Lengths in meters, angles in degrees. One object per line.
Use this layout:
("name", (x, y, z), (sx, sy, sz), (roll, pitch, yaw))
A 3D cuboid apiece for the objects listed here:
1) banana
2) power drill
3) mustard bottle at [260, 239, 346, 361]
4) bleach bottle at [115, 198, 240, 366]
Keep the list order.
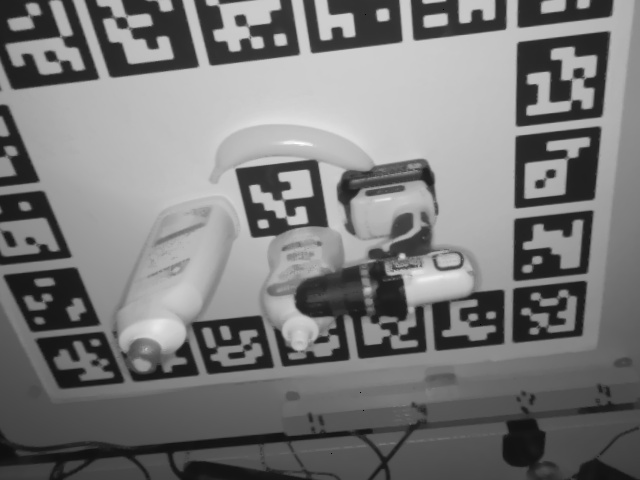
("banana", (-0.039, -0.089, 0.794), (0.197, 0.039, 0.074), (-4, 116, 0))
("power drill", (0.074, 0.019, 0.748), (0.184, 0.189, 0.057), (-7, 127, 8))
("mustard bottle", (-0.020, 0.070, 0.801), (0.096, 0.193, 0.058), (-4, 121, 5))
("bleach bottle", (-0.156, 0.044, 0.761), (0.102, 0.253, 0.067), (-12, 119, 9))
